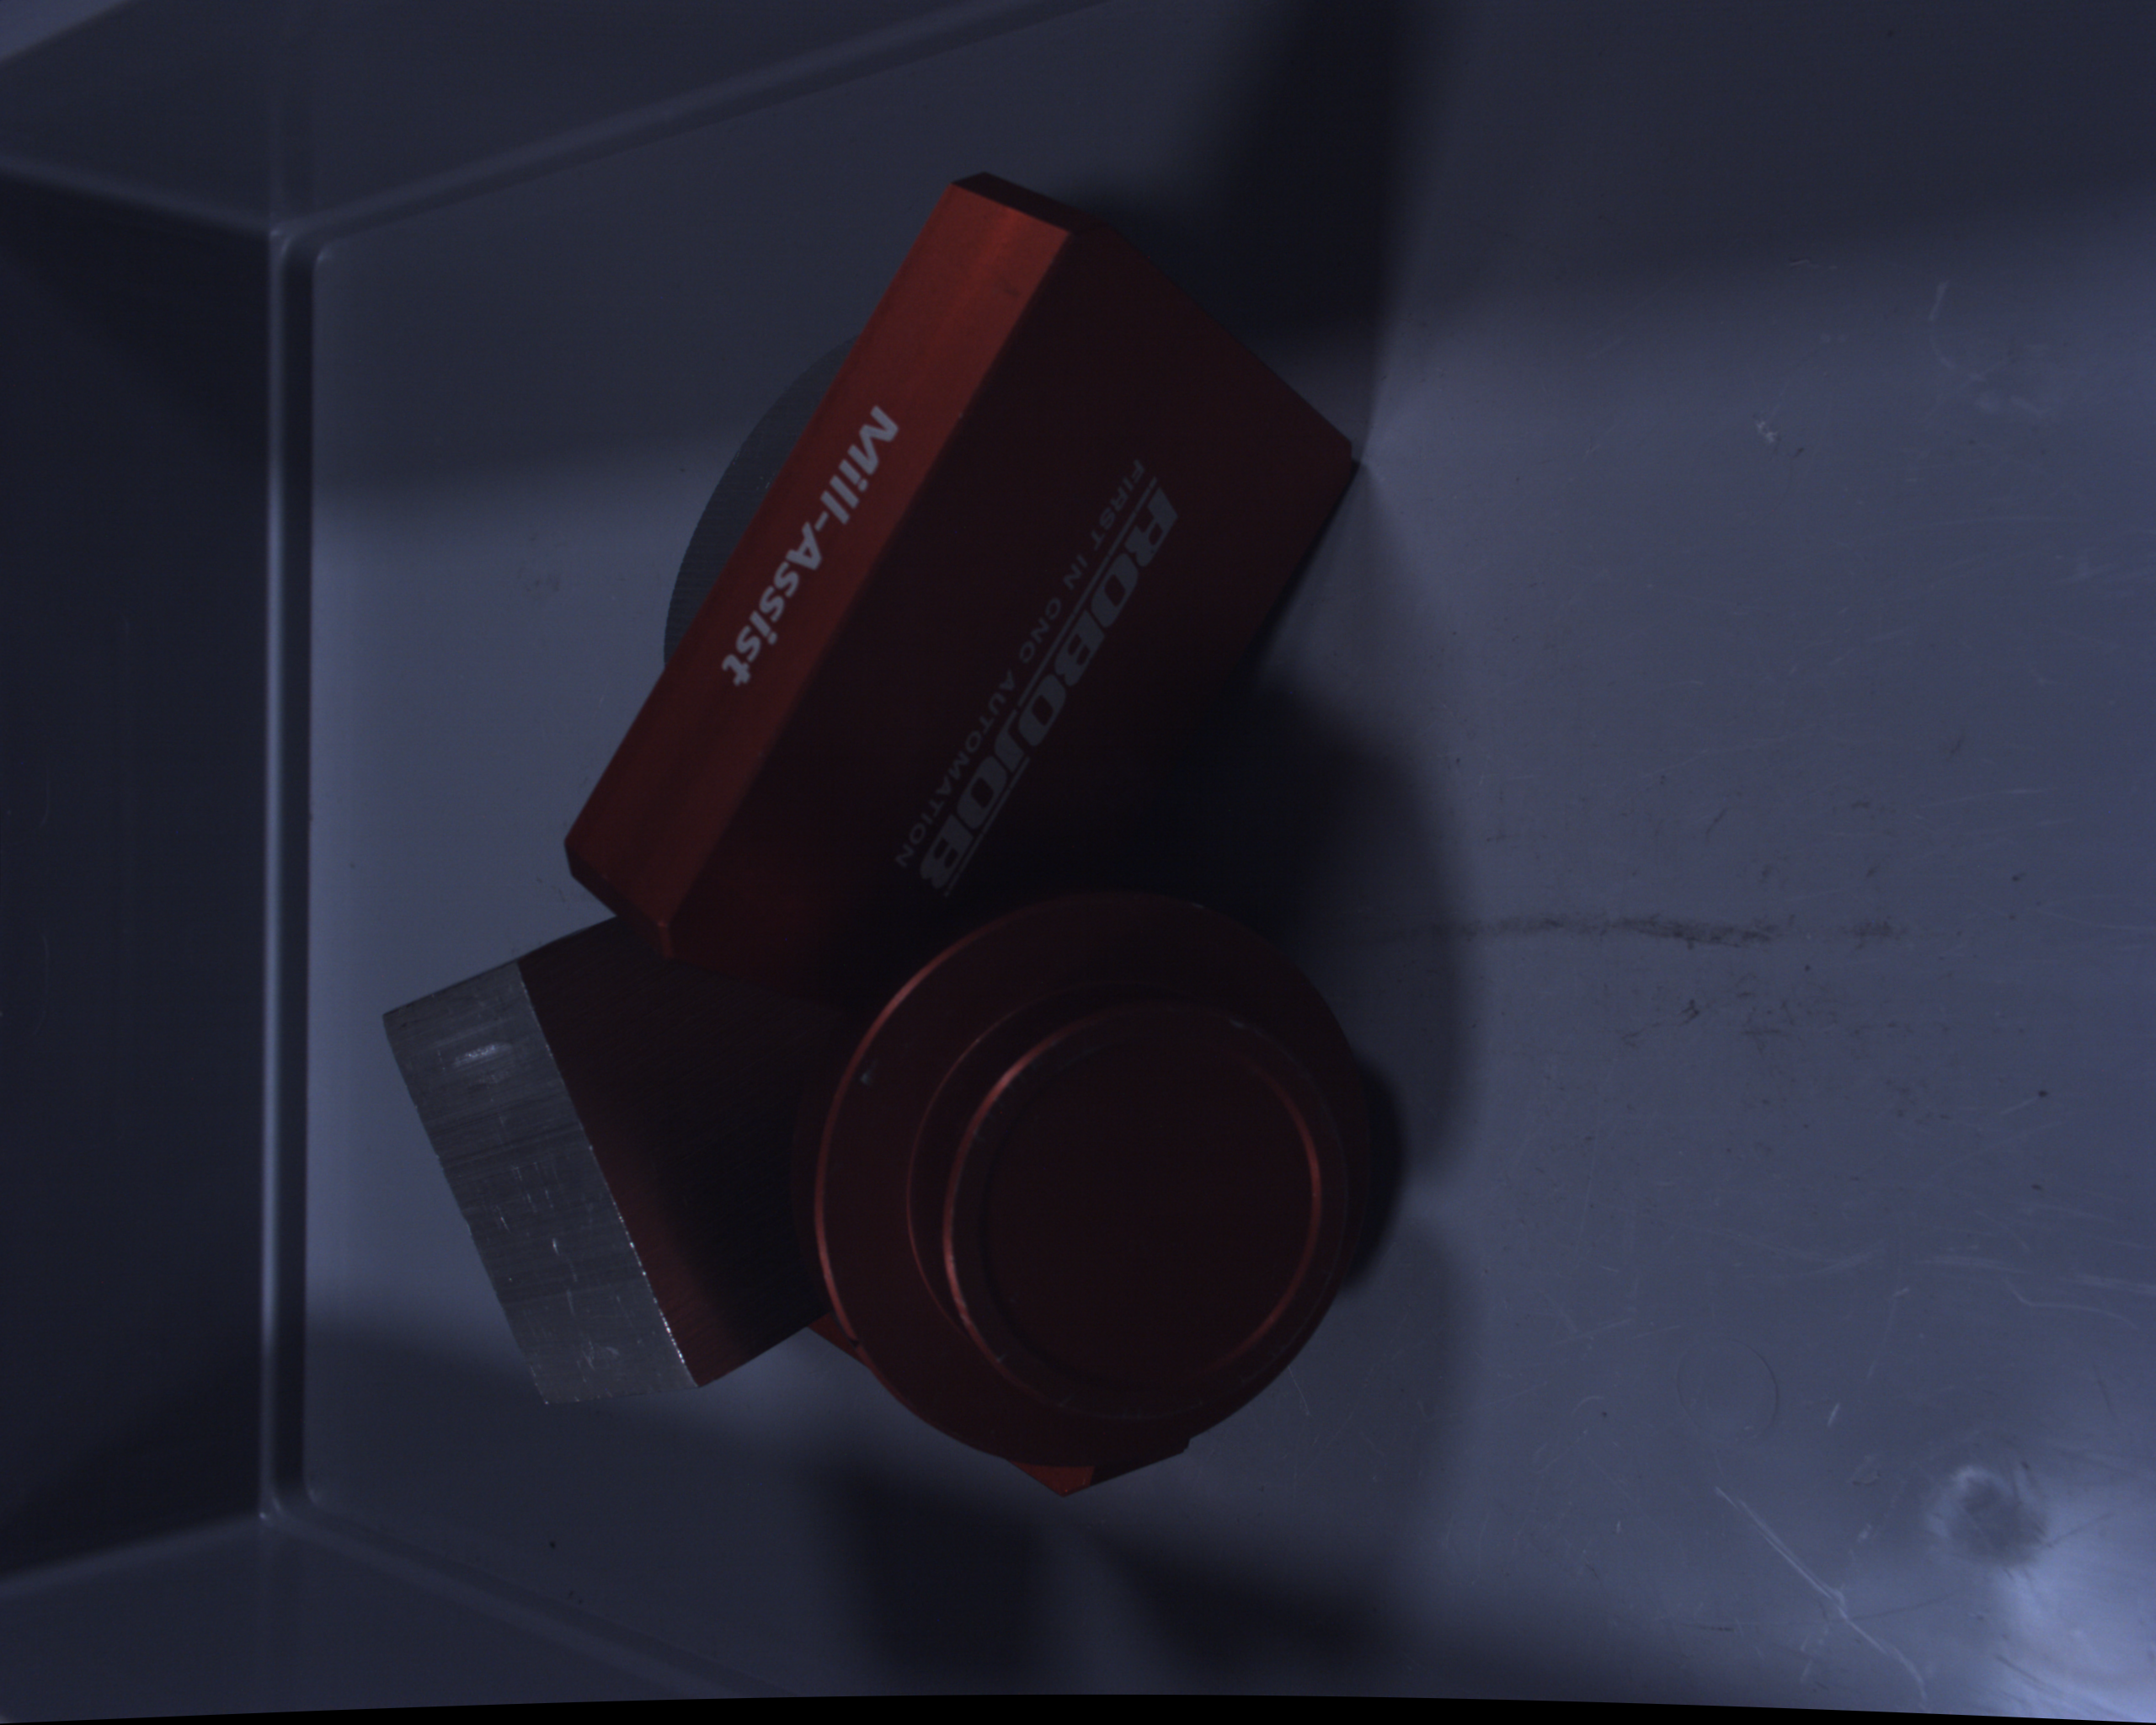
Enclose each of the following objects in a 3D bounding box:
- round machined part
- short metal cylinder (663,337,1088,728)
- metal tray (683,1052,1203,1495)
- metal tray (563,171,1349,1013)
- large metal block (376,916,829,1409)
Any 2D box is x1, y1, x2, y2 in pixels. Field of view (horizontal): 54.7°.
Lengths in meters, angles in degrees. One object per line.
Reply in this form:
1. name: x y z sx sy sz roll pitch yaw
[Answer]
1. round machined part: 0.005 0.054 0.347 0.042 0.099 0.097 -165 79 -69
2. short metal cylinder: -0.034 -0.053 0.395 0.080 0.050 0.080 -30 46 37
3. metal tray: -0.028 0.055 0.422 0.130 0.030 0.089 22 104 37
4. metal tray: -0.017 -0.036 0.354 0.030 0.090 0.130 34 95 38
5. large metal block: -0.071 0.046 0.395 0.050 0.081 0.080 -20 93 44
